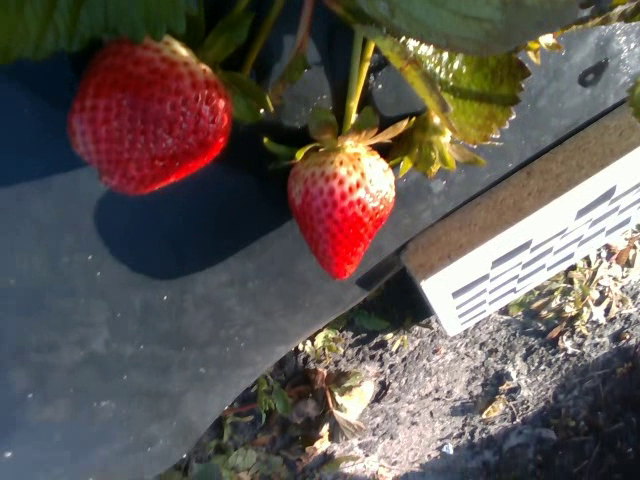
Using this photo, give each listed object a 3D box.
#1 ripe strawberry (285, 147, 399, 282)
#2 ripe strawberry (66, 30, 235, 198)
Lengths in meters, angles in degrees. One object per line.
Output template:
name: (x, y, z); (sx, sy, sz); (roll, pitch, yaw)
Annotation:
ripe strawberry: (0.009, -0.007, 0.206); (0.043, 0.053, 0.038); (-14, 21, -36)
ripe strawberry: (-0.045, -0.035, 0.171); (0.039, 0.054, 0.048); (34, -21, 16)
